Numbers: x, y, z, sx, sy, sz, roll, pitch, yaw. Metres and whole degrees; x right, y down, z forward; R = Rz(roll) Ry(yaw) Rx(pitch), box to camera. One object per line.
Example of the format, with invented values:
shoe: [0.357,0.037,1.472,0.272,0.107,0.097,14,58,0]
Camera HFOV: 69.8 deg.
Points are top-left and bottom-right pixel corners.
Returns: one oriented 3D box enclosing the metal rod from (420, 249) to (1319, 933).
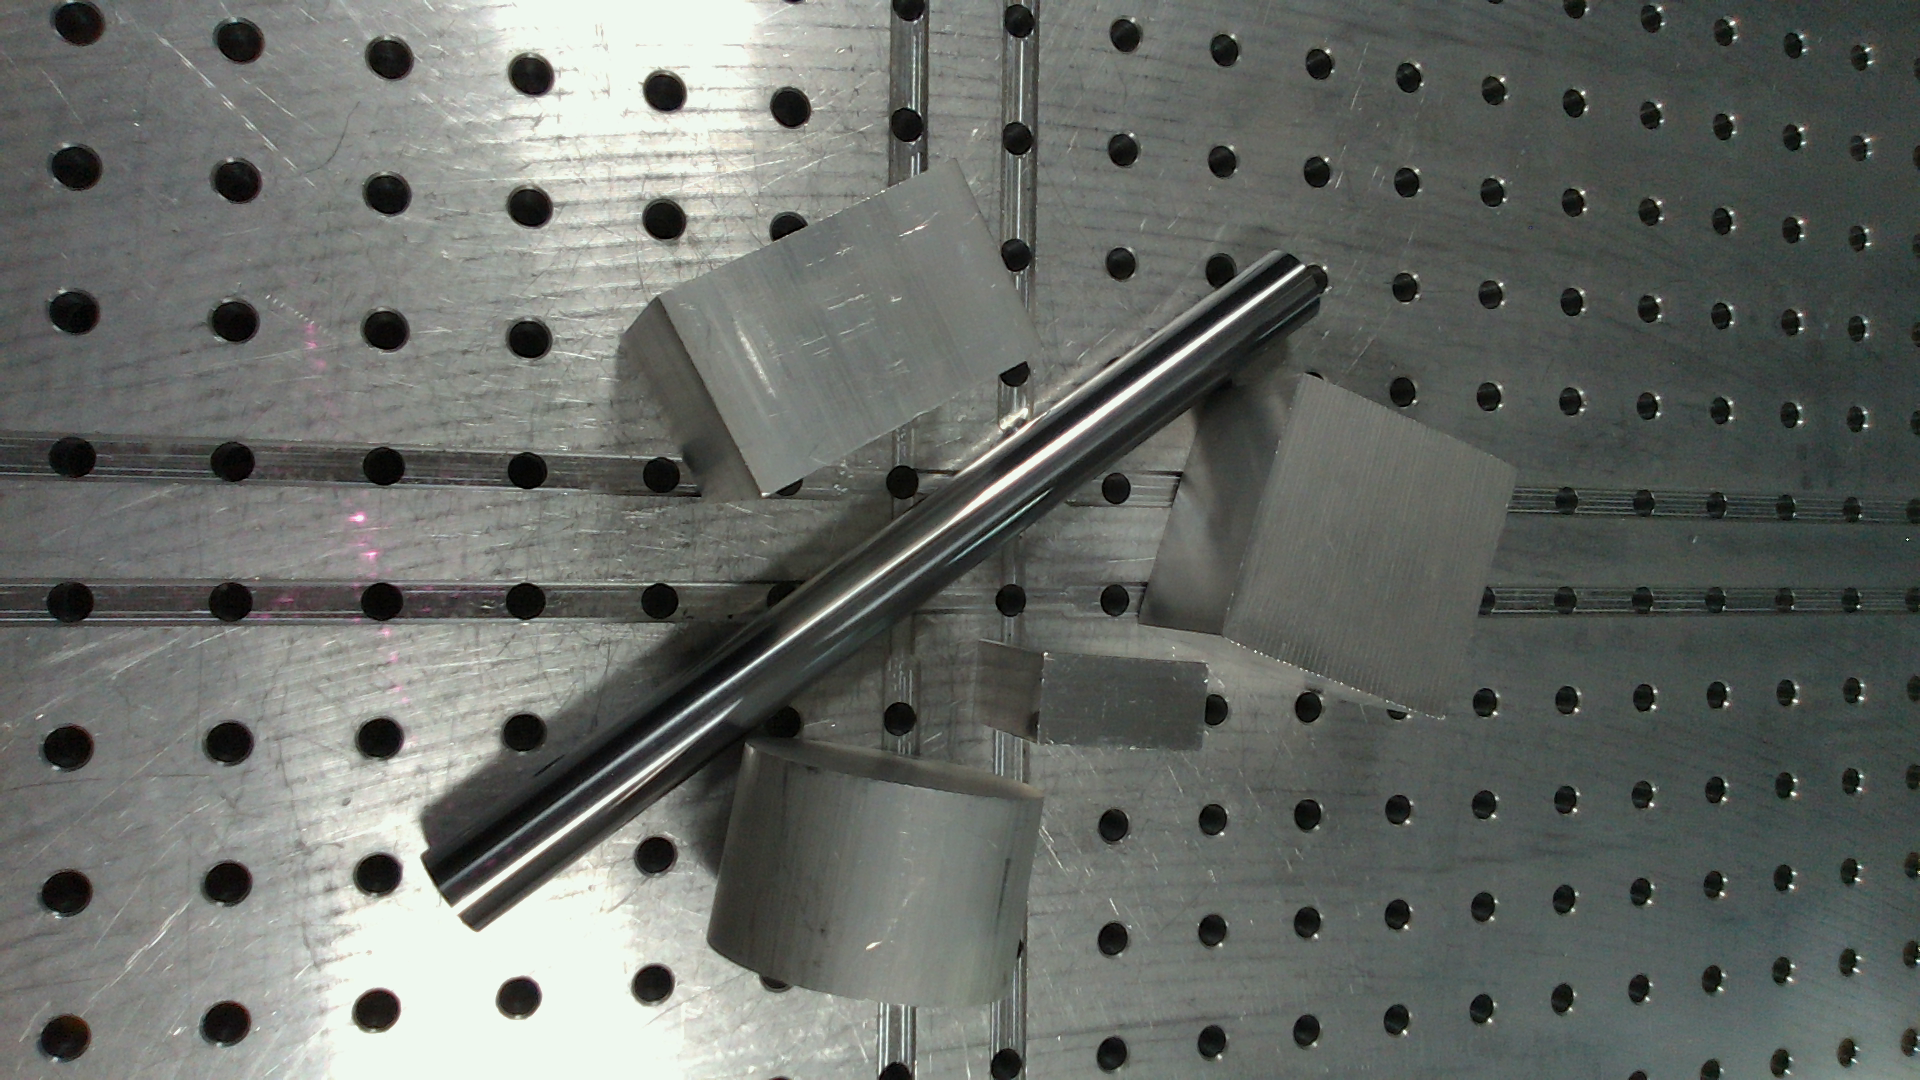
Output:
metal rod: [-0.013,0.005,0.391,0.301,0.025,0.025,-36,102,-16]

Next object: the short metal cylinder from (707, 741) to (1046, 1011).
short metal cylinder: [-0.022,0.084,0.358,0.080,0.080,0.050,12,86,-19]

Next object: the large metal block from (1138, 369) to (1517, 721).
large metal block: [0.112,0.002,0.421,0.080,0.050,0.080,20,83,-19]

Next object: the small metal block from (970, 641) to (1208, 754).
small metal block: [0.036,0.045,0.396,0.050,0.050,0.025,5,88,-20]

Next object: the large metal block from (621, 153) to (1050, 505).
large metal block: [-0.036,-0.050,0.354,0.080,0.080,0.050,-30,100,-17]
